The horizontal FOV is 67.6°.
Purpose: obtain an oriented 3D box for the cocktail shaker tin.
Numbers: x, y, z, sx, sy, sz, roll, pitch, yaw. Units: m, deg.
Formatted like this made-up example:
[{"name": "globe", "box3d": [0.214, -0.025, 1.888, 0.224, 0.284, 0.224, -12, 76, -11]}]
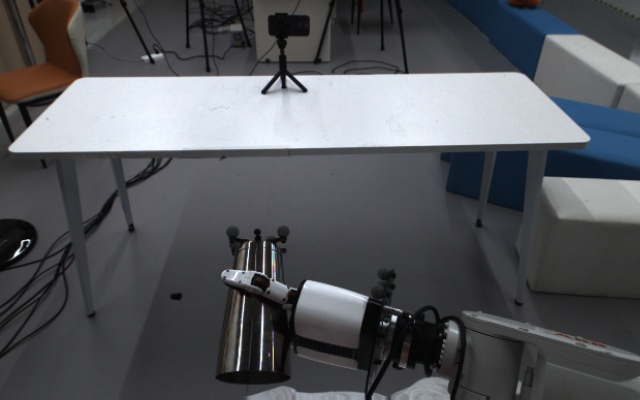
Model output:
[{"name": "cocktail shaker tin", "box3d": [-0.084, 0.143, 0.627, 0.093, 0.093, 0.170, 0, 59, -3]}]
